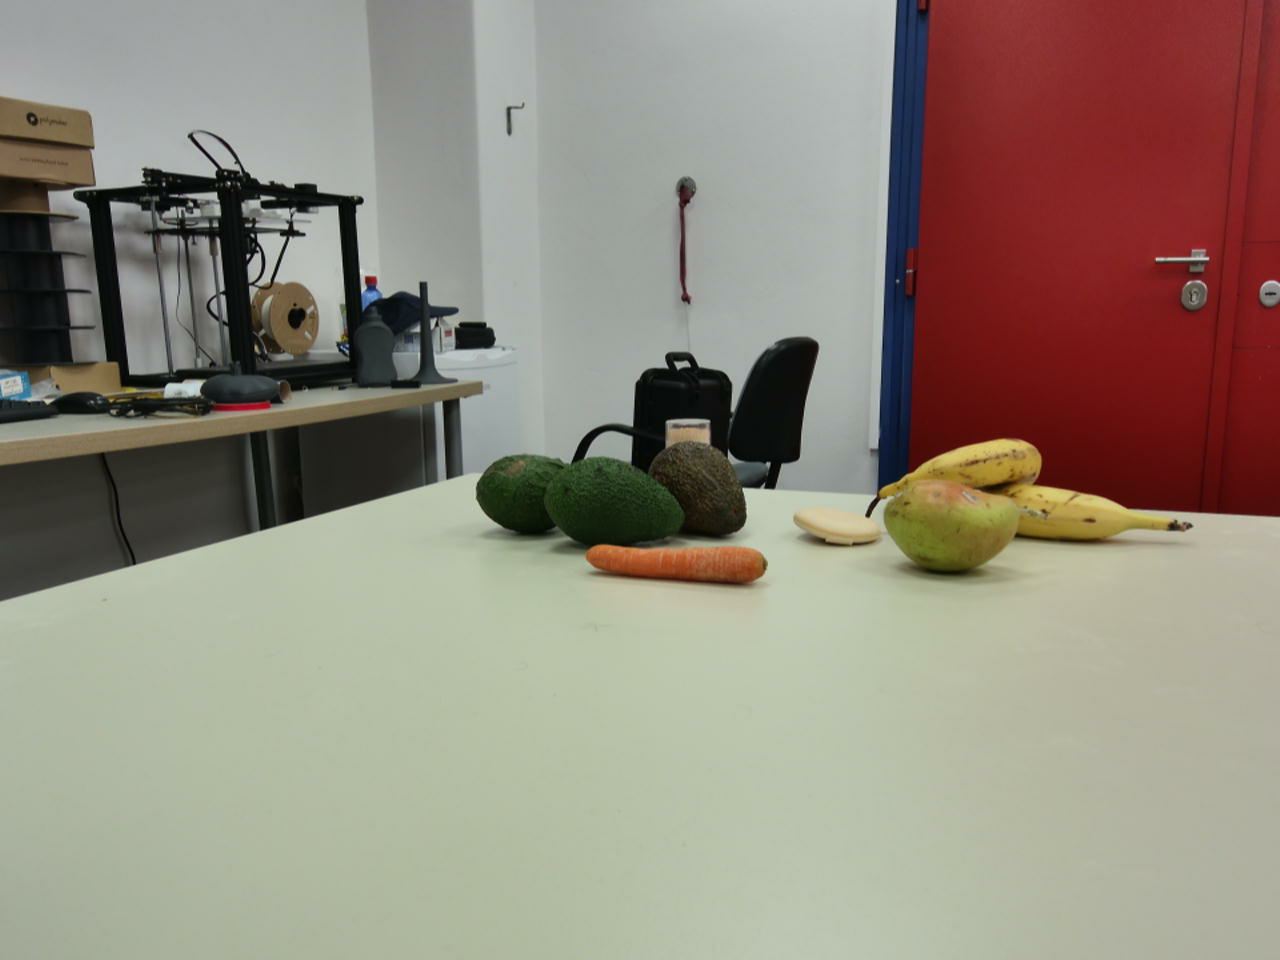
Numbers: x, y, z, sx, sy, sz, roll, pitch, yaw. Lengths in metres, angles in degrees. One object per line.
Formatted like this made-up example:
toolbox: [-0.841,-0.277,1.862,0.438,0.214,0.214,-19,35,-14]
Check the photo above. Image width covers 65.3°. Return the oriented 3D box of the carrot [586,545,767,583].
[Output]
carrot: [0.022,0.052,0.652,0.122,0.023,0.024,3,8,20]
